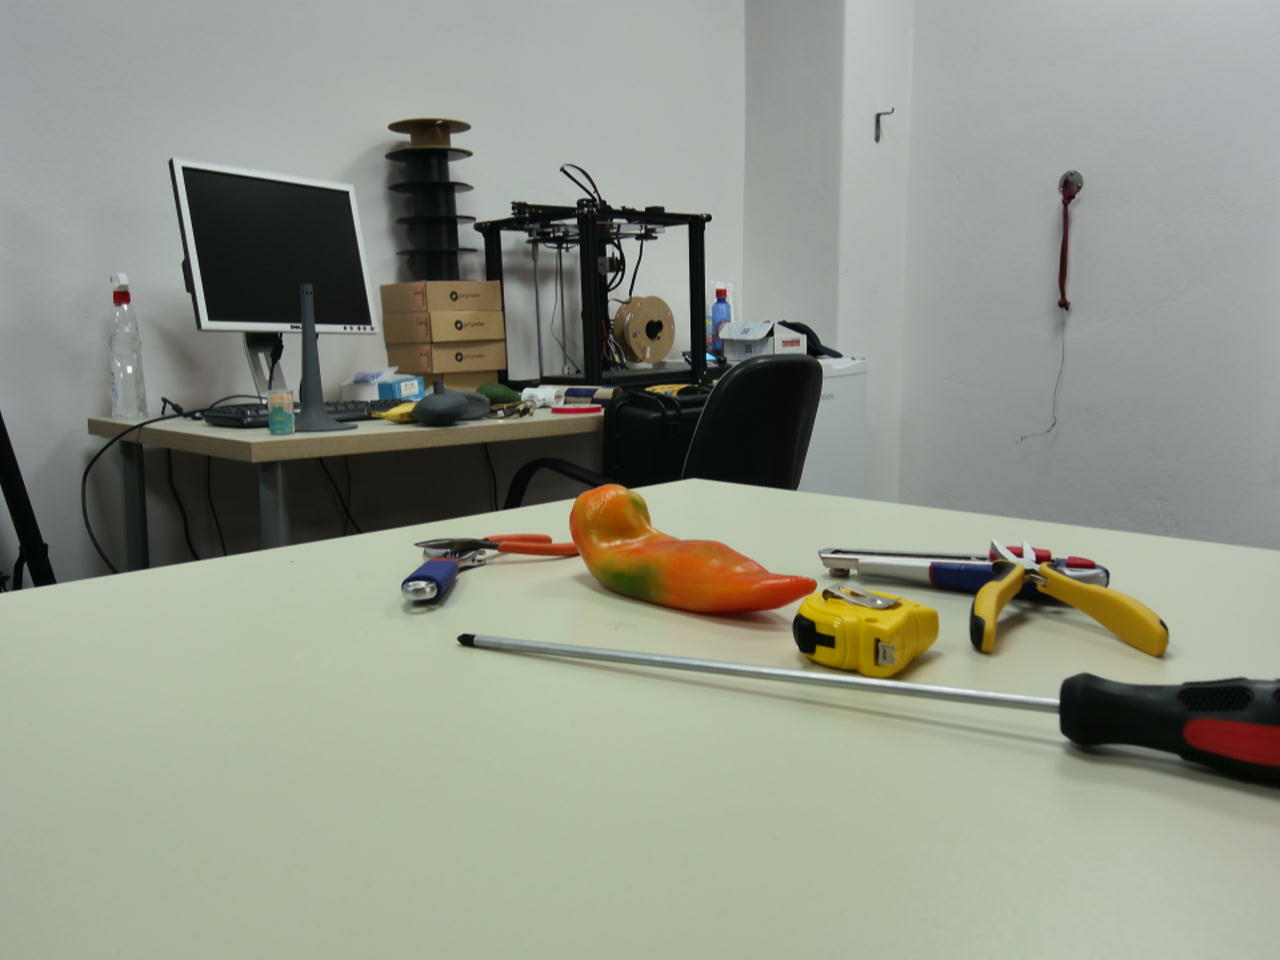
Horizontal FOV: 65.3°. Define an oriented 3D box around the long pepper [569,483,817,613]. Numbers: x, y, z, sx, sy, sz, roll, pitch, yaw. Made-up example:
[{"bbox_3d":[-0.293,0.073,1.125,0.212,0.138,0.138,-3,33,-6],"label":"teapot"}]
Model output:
[{"bbox_3d":[0.025,0.043,0.622,0.066,0.065,0.199,-4,8,-38],"label":"long pepper"}]
